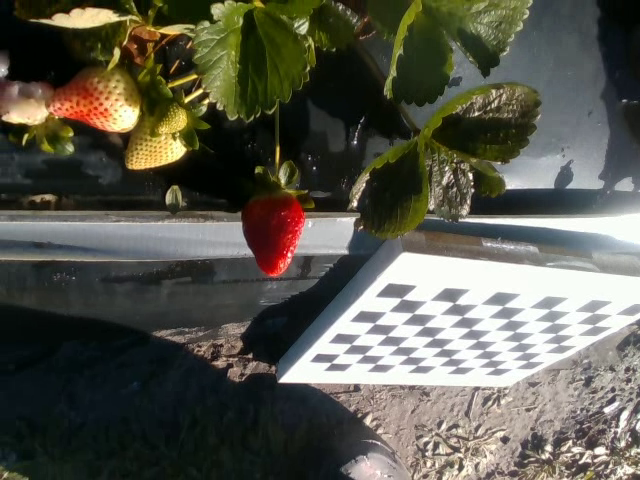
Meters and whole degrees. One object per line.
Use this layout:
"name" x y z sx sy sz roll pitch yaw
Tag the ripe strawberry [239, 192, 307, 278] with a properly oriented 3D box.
"ripe strawberry" -0.024 -0.003 0.296 0.036 0.046 0.038 8 -19 -18
